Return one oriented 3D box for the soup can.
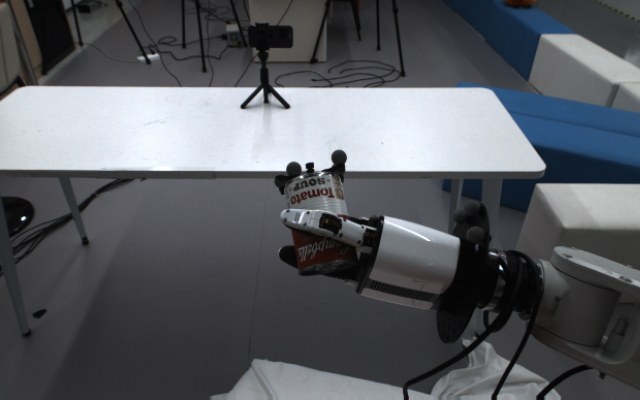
[{"bbox_3d":[0.002,0.027,0.540,0.067,0.067,0.101,-8,74,-14],"label":"soup can"}]
